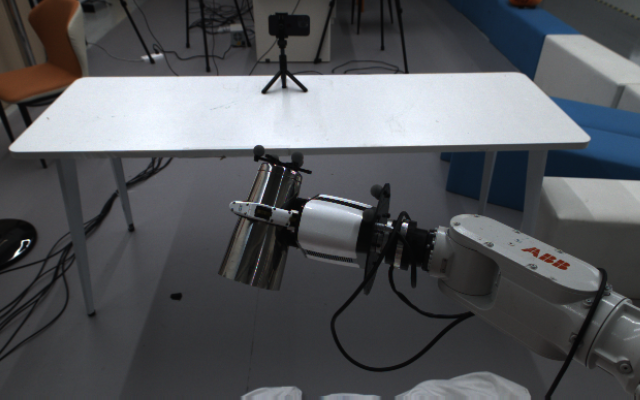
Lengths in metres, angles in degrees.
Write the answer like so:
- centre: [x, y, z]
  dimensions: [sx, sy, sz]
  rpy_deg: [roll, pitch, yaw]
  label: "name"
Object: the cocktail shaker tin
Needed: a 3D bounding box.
- centre: [-0.081, 0.037, 0.706]
  dimensions: [0.093, 0.170, 0.093]
  rpy_deg: [15, -6, 2]
  label: "cocktail shaker tin"
